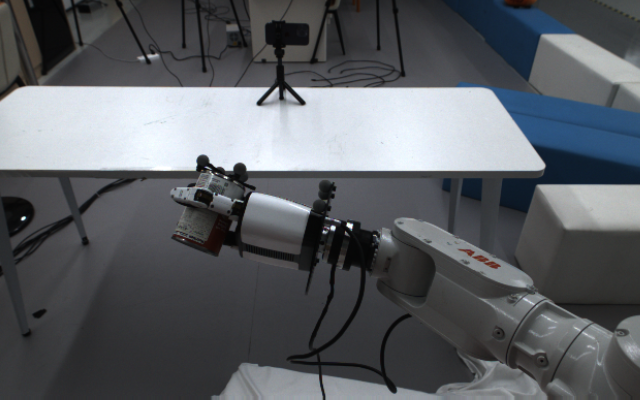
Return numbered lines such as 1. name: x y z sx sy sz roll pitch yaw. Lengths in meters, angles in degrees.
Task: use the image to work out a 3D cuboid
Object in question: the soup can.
1. soup can: -0.151 0.020 0.665 0.067 0.067 0.101 16 76 19
